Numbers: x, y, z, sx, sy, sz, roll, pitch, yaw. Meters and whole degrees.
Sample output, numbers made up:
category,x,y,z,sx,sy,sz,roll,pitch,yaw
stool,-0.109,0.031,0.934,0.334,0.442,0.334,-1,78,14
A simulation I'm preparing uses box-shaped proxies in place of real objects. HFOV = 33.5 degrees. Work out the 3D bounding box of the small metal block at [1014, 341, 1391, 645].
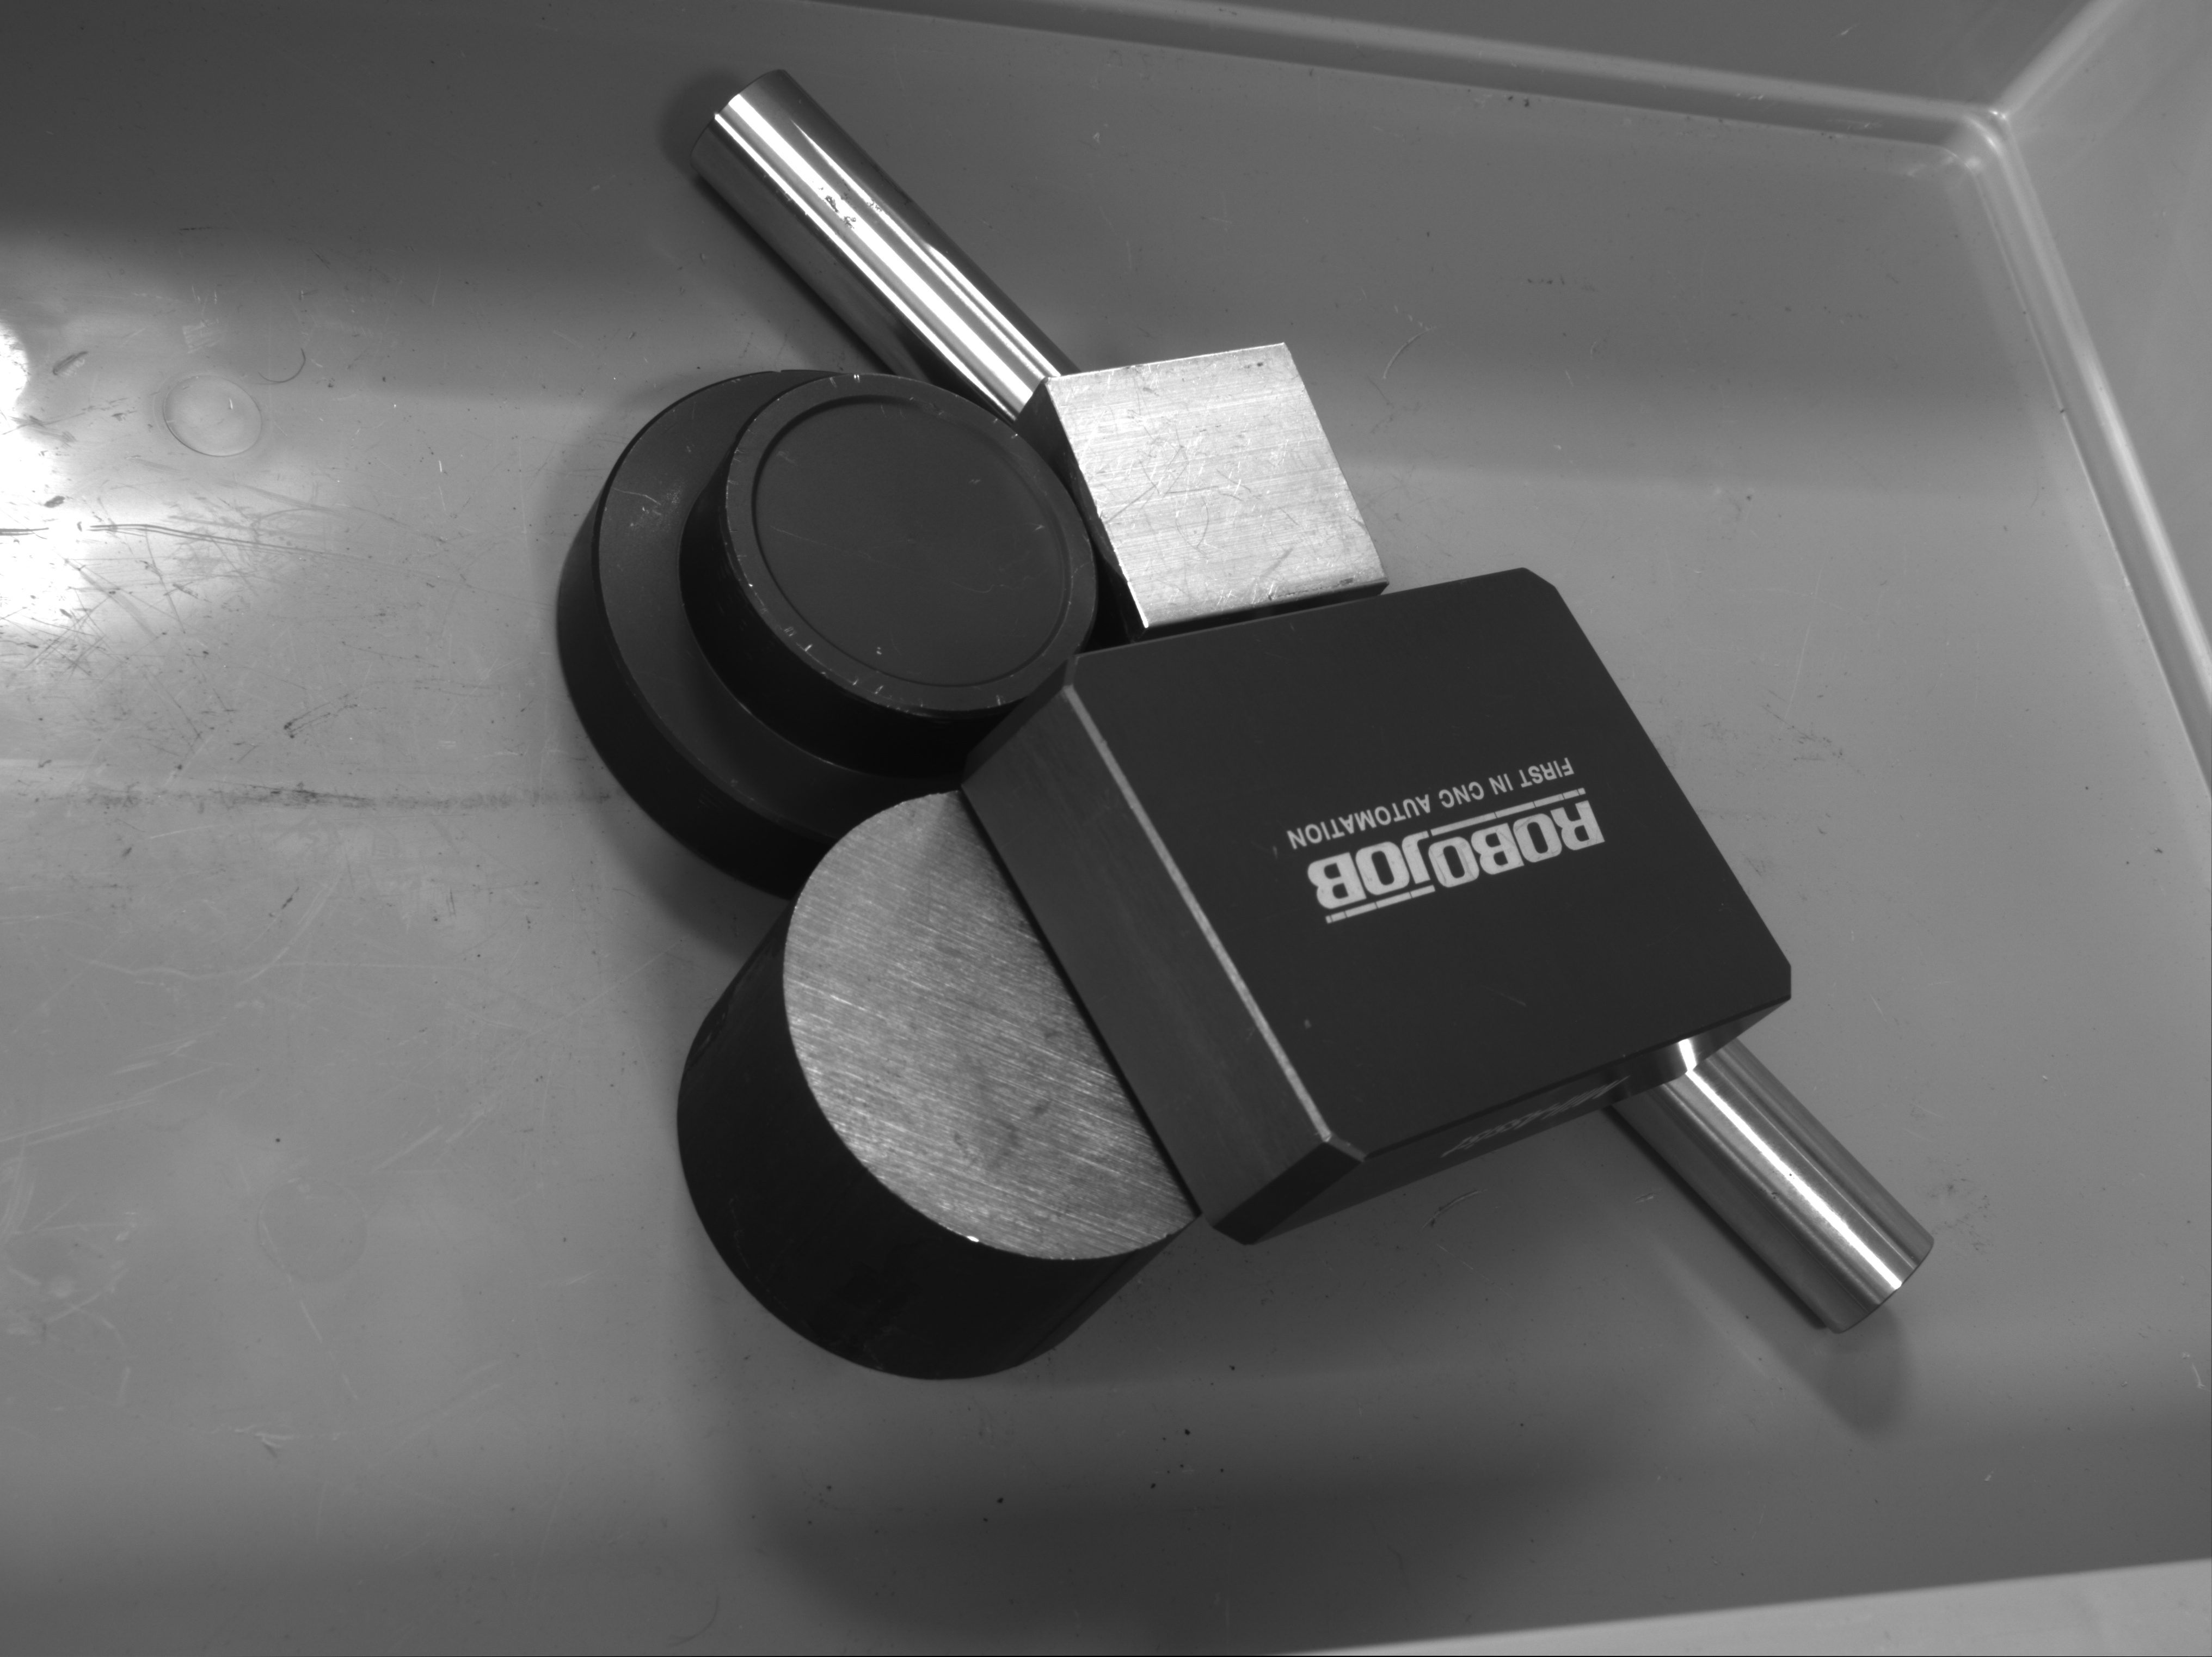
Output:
category,x,y,z,sx,sy,sz,roll,pitch,yaw
small metal block,0.015,-0.055,0.649,0.050,0.025,0.050,-13,71,-28

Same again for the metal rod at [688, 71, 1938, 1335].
category,x,y,z,sx,sy,sz,roll,pitch,yaw
metal rod,0.036,-0.024,0.672,0.300,0.025,0.025,46,51,4

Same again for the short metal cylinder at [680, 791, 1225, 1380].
category,x,y,z,sx,sy,sz,roll,pitch,yaw
short metal cylinder,-0.022,0.041,0.585,0.080,0.050,0.080,13,56,-21

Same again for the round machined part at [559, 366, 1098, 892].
category,x,y,z,sx,sy,sz,roll,pitch,yaw
round machined part,-0.040,-0.039,0.628,0.098,0.042,0.098,13,57,-20

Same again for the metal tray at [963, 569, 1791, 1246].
category,x,y,z,sx,sy,sz,roll,pitch,yaw
metal tray,0.048,0.009,0.606,0.130,0.030,0.090,-14,69,-47
